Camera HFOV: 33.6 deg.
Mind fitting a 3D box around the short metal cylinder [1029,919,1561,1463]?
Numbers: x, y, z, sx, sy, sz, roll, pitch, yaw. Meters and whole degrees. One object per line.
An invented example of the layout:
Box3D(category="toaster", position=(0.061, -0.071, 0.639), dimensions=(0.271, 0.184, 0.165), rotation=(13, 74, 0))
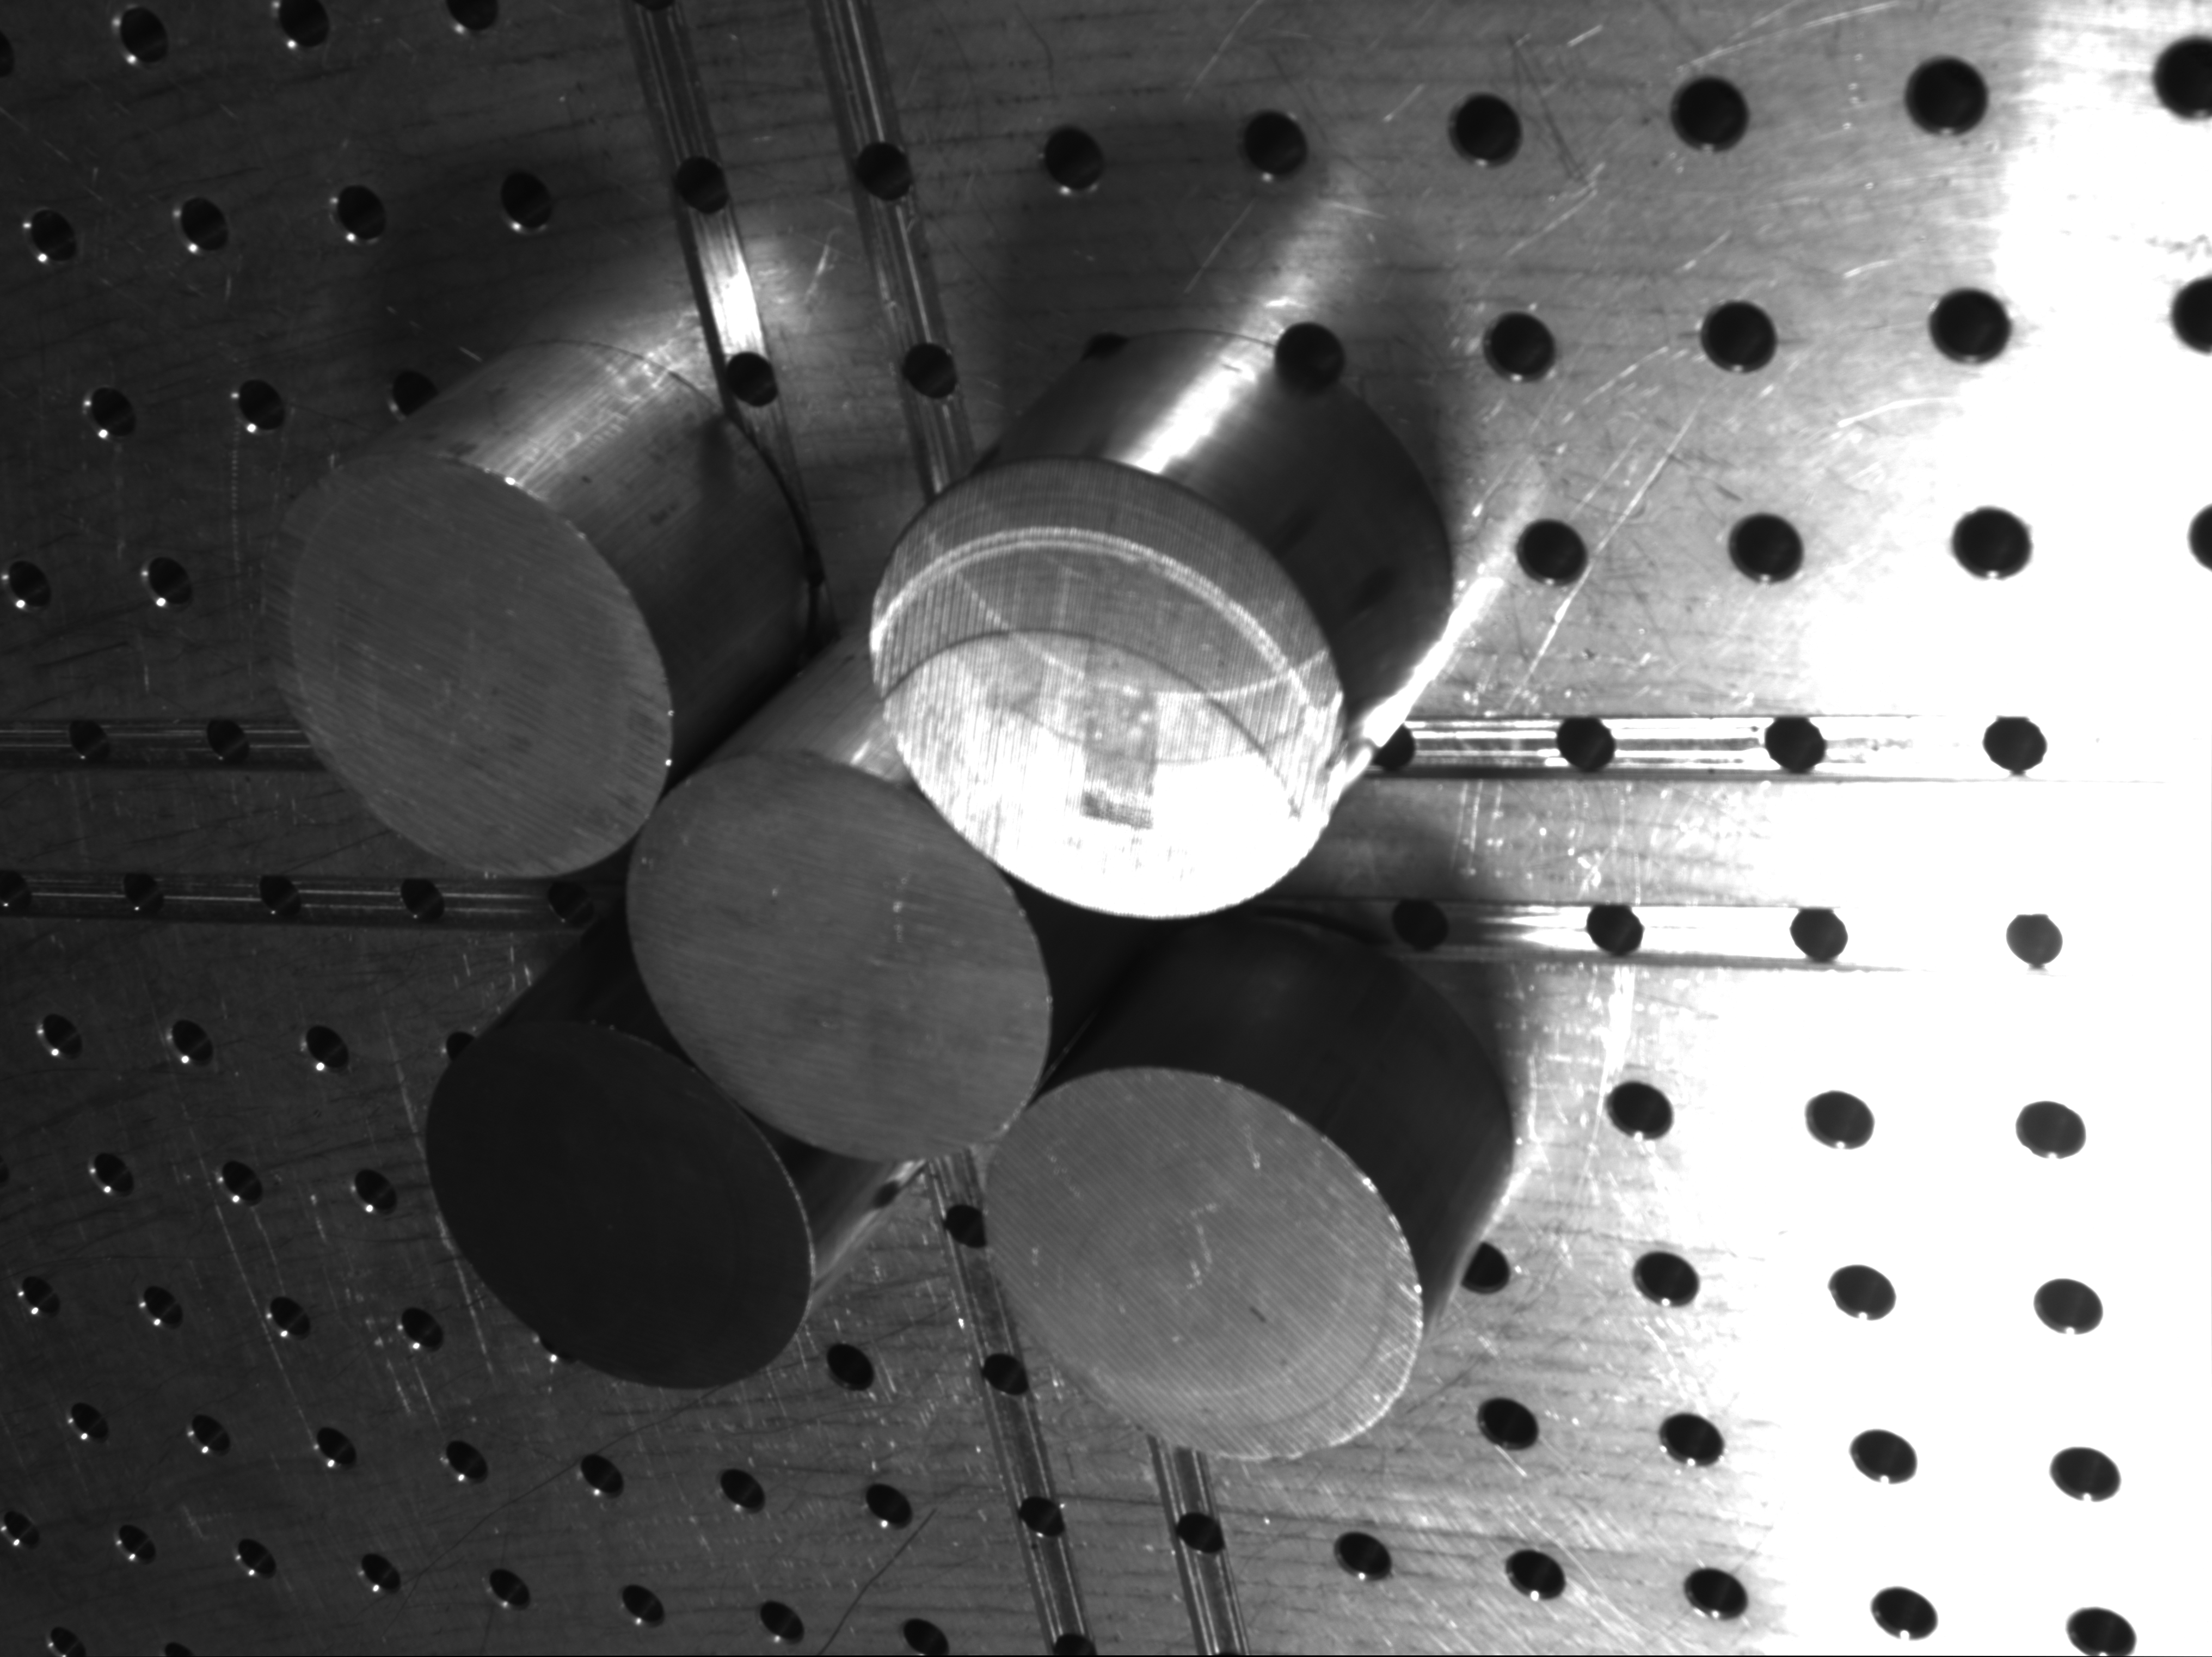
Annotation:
Box3D(category="short metal cylinder", position=(0.033, 0.063, 0.639), dimensions=(0.080, 0.050, 0.080), rotation=(12, 123, 20))

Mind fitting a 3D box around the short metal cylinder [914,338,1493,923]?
Box3D(category="short metal cylinder", position=(0.016, -0.032, 0.588), dimensions=(0.080, 0.050, 0.080), rotation=(12, 123, 20))

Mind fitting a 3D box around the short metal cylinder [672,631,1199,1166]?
Box3D(category="short metal cylinder", position=(-0.028, 0.011, 0.638), dimensions=(0.080, 0.050, 0.080), rotation=(12, 123, 20))

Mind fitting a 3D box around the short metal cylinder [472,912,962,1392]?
Box3D(category="short metal cylinder", position=(-0.071, 0.058, 0.687), dimensions=(0.080, 0.050, 0.080), rotation=(12, 123, 20))

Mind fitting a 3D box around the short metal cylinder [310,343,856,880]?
Box3D(category="short metal cylinder", position=(-0.091, -0.038, 0.640), dimensions=(0.080, 0.050, 0.080), rotation=(12, 123, 20))
